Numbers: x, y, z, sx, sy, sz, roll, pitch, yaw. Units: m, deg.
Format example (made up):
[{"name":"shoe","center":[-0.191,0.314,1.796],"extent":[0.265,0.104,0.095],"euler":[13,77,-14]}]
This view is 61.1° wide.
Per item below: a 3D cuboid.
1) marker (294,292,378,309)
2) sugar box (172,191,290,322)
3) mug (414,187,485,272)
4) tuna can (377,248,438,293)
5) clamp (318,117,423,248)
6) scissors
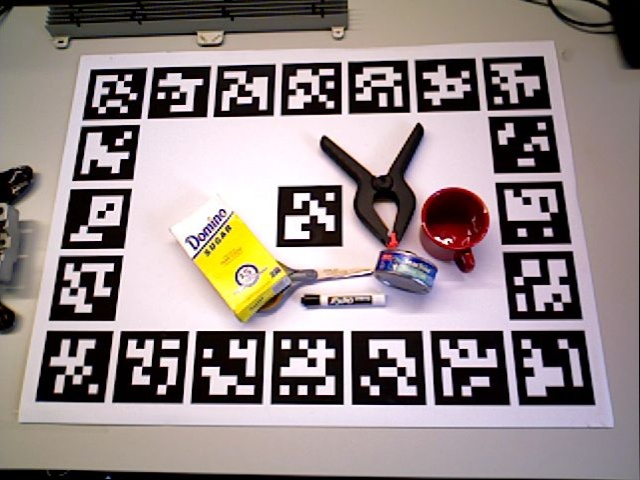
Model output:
[{"name":"marker","center":[0.022,0.087,0.776],"extent":[0.121,0.020,0.019],"euler":[-4,73,3]},{"name":"sugar box","center":[-0.130,0.021,0.786],"extent":[0.092,0.046,0.176],"euler":[-36,68,-8]},{"name":"mug","center":[0.183,-0.006,0.765],"extent":[0.092,0.082,0.116],"euler":[-26,70,-6]},{"name":"tuna can","center":[0.123,0.043,0.749],"extent":[0.085,0.086,0.033],"euler":[16,72,8]},{"name":"clamp","center":[0.094,-0.083,0.825],"extent":[0.165,0.037,0.202],"euler":[-10,74,0]},{"name":"scissors","center":[-0.023,0.047,0.788],"extent":[0.202,0.016,0.087],"euler":[-10,69,-1]}]
